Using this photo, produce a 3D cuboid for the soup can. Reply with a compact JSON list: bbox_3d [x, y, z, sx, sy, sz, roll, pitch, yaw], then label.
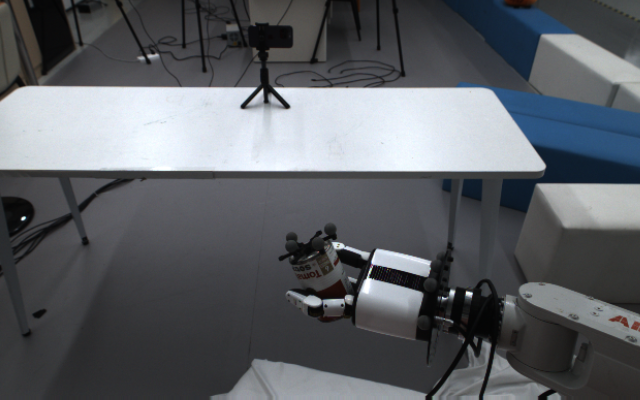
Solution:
[{"bbox_3d":[0.008,0.114,0.694,0.067,0.101,0.067,-23,16,7],"label":"soup can"}]
